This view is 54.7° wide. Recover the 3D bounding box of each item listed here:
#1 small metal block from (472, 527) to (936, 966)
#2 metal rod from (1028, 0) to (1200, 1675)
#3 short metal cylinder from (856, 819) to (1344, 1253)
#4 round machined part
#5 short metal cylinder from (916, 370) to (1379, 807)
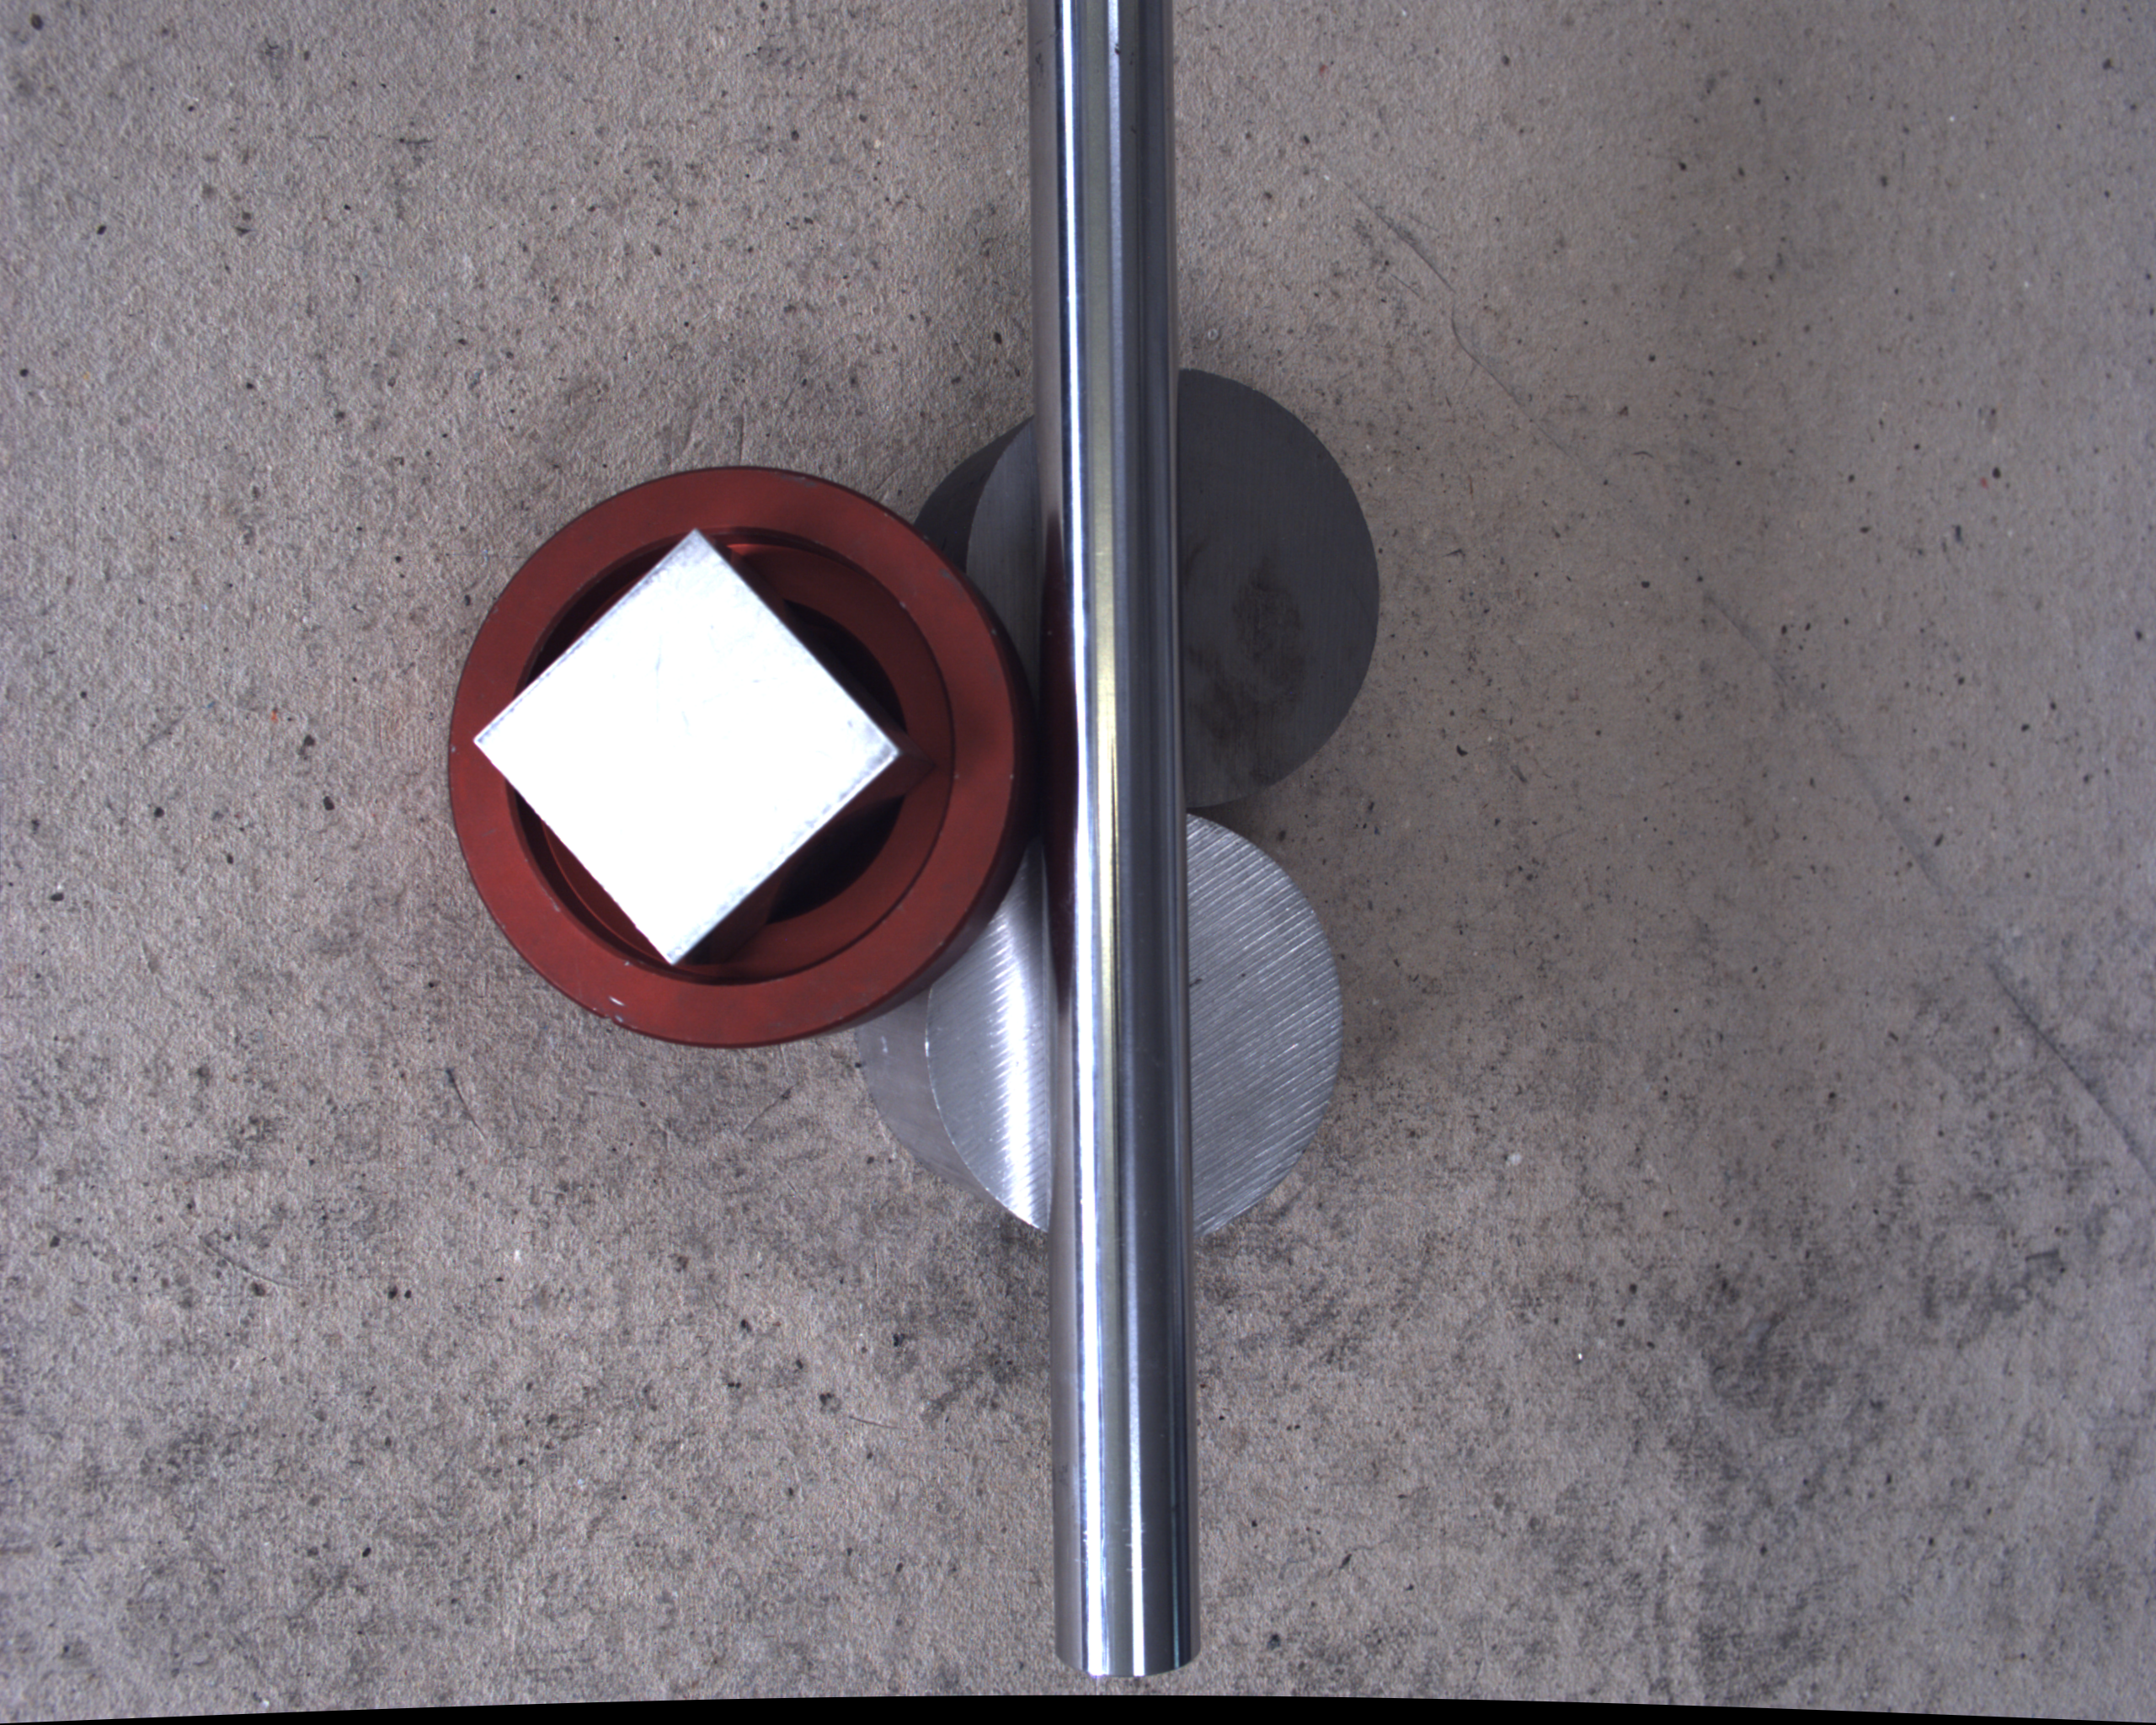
[{"bbox_3d":[-0.061,-0.018,0.345,0.050,0.025,0.050,-43,82,4],"label":"small metal block"},{"bbox_3d":[0.006,-0.014,0.360,0.025,0.025,0.298,-1,90,-20],"label":"metal rod"},{"bbox_3d":[0.003,0.030,0.398,0.081,0.050,0.080,0,89,-20],"label":"short metal cylinder"},{"bbox_3d":[-0.055,-0.017,0.367,0.098,0.042,0.097,0,88,9],"label":"round machined part"},{"bbox_3d":[0.010,-0.050,0.401,0.081,0.050,0.079,0,90,-20],"label":"short metal cylinder"}]
